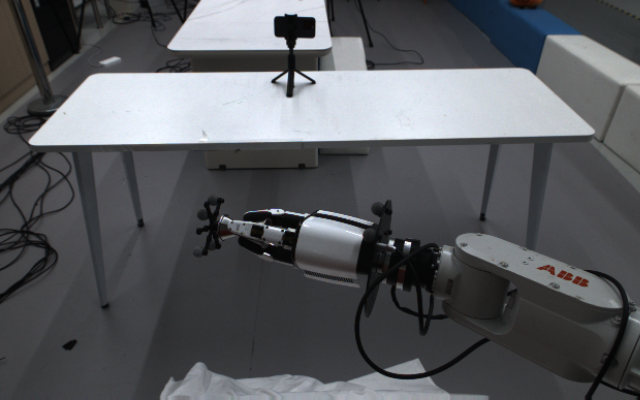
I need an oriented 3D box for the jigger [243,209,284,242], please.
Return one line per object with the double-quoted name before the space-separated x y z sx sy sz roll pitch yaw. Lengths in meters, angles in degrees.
"jigger" -0.101 0.041 0.692 0.071 0.043 0.043 6 35 14
